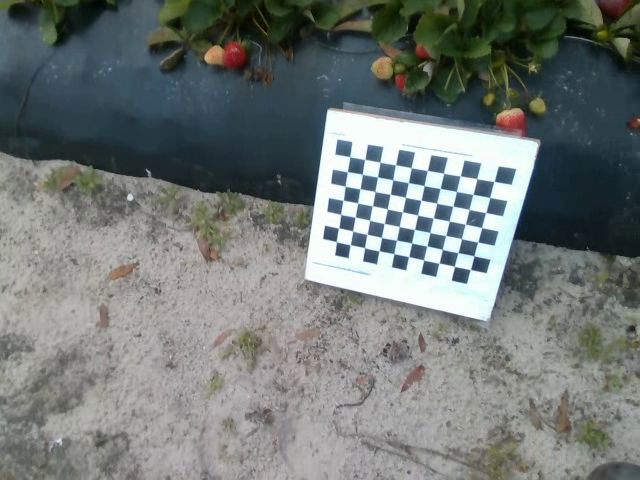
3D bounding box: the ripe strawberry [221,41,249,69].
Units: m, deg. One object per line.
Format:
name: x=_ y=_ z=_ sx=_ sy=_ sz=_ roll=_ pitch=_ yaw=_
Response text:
ripe strawberry: x=-0.122 y=-0.265 z=1.206 sx=0.042 sy=0.034 sz=0.033 roll=-44 pitch=-8 yaw=-37
